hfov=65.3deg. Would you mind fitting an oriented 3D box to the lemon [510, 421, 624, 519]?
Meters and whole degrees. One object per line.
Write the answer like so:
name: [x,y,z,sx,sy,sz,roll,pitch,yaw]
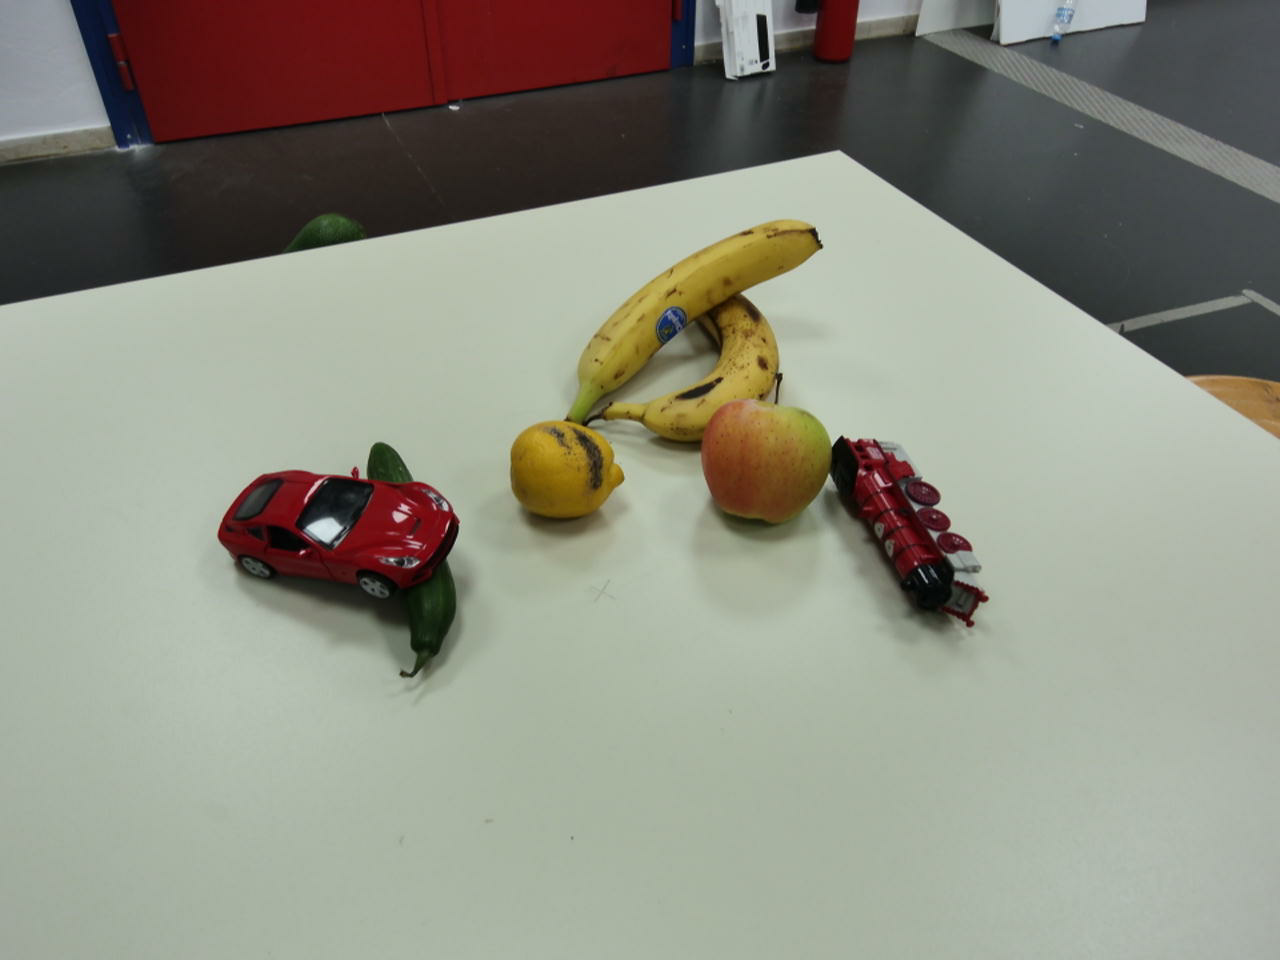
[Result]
lemon: [-0.045,-0.006,0.576,0.061,0.056,0.058,-22,44,-25]
